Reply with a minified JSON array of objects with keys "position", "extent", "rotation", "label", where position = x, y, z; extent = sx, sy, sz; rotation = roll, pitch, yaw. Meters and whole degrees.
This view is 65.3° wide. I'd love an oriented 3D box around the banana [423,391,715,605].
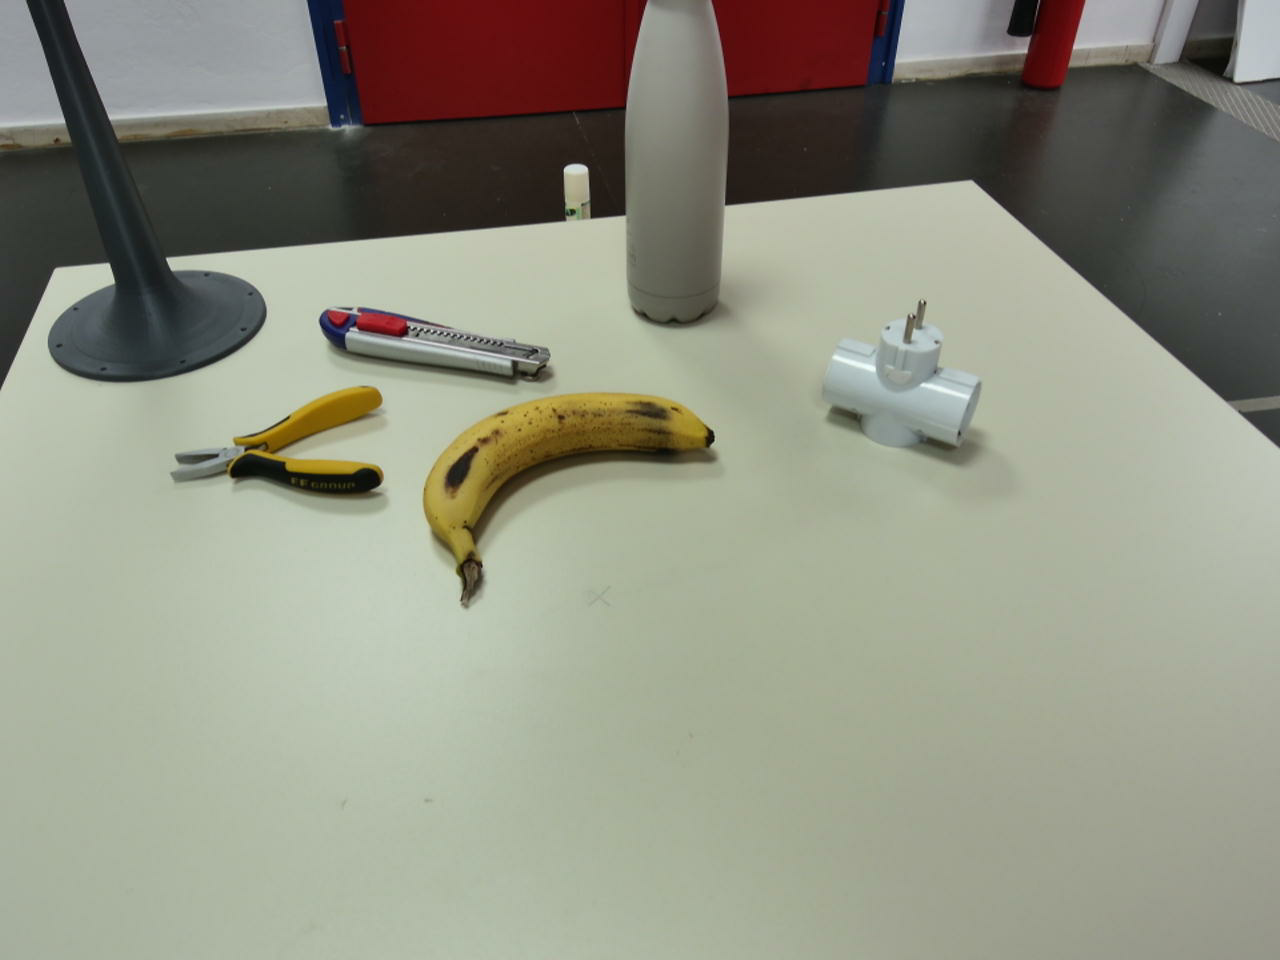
[{"position":[-0.051,-0.012,0.599],"extent":[0.186,0.038,0.097],"rotation":[-28,47,-30],"label":"banana"}]
